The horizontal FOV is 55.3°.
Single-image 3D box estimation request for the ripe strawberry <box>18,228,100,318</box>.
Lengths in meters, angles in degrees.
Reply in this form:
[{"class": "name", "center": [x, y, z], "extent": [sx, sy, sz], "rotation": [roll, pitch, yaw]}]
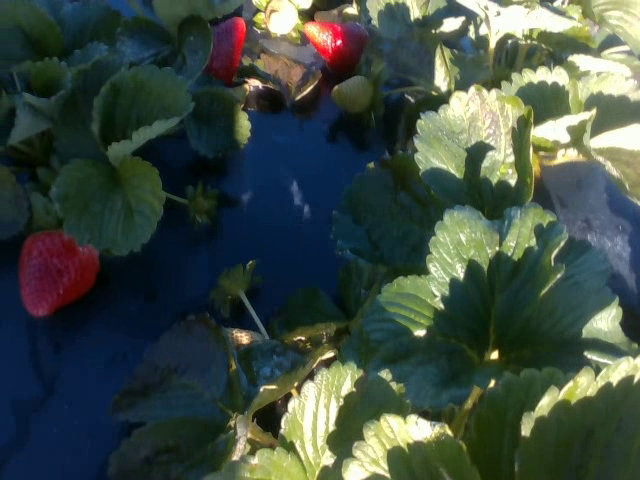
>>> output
[{"class": "ripe strawberry", "center": [-0.143, 0.019, 0.324], "extent": [0.045, 0.059, 0.042], "rotation": [-12, -33, 30]}]
